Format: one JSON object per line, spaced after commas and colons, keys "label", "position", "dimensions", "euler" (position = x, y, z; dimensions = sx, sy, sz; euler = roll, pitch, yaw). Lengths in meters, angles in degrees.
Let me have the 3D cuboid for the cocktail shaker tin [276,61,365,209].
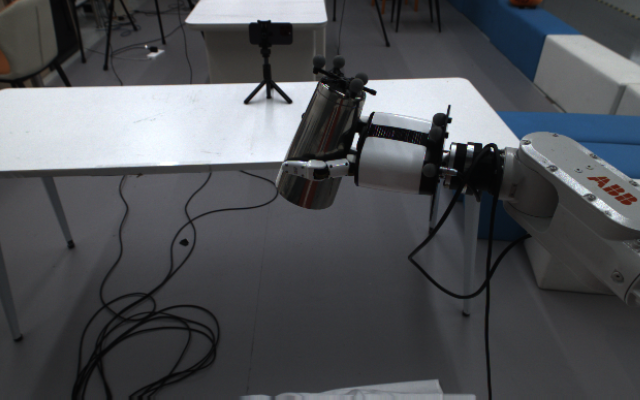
{"label": "cocktail shaker tin", "position": [0.004, -0.084, 0.679], "dimensions": [0.093, 0.170, 0.093], "euler": [16, 31, -10]}
